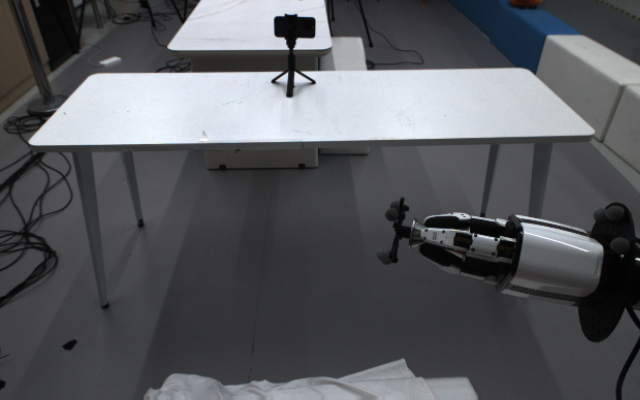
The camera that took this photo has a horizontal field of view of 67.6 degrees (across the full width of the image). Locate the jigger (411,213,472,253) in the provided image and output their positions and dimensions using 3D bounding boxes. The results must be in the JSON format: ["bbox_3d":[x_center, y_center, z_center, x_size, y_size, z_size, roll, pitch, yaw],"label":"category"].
[{"bbox_3d":[0.153,0.044,0.598,0.071,0.043,0.043,10,35,15],"label":"jigger"}]
